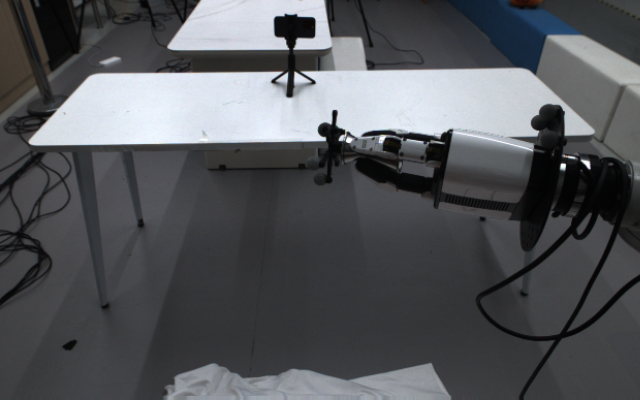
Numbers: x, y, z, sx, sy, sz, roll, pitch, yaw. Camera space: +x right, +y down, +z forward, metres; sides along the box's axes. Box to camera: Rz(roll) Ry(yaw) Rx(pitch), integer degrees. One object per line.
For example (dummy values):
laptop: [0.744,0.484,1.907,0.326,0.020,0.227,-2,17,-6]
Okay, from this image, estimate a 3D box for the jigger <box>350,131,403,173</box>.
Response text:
jigger: [0.069,-0.061,0.569,0.071,0.043,0.043,7,35,16]
